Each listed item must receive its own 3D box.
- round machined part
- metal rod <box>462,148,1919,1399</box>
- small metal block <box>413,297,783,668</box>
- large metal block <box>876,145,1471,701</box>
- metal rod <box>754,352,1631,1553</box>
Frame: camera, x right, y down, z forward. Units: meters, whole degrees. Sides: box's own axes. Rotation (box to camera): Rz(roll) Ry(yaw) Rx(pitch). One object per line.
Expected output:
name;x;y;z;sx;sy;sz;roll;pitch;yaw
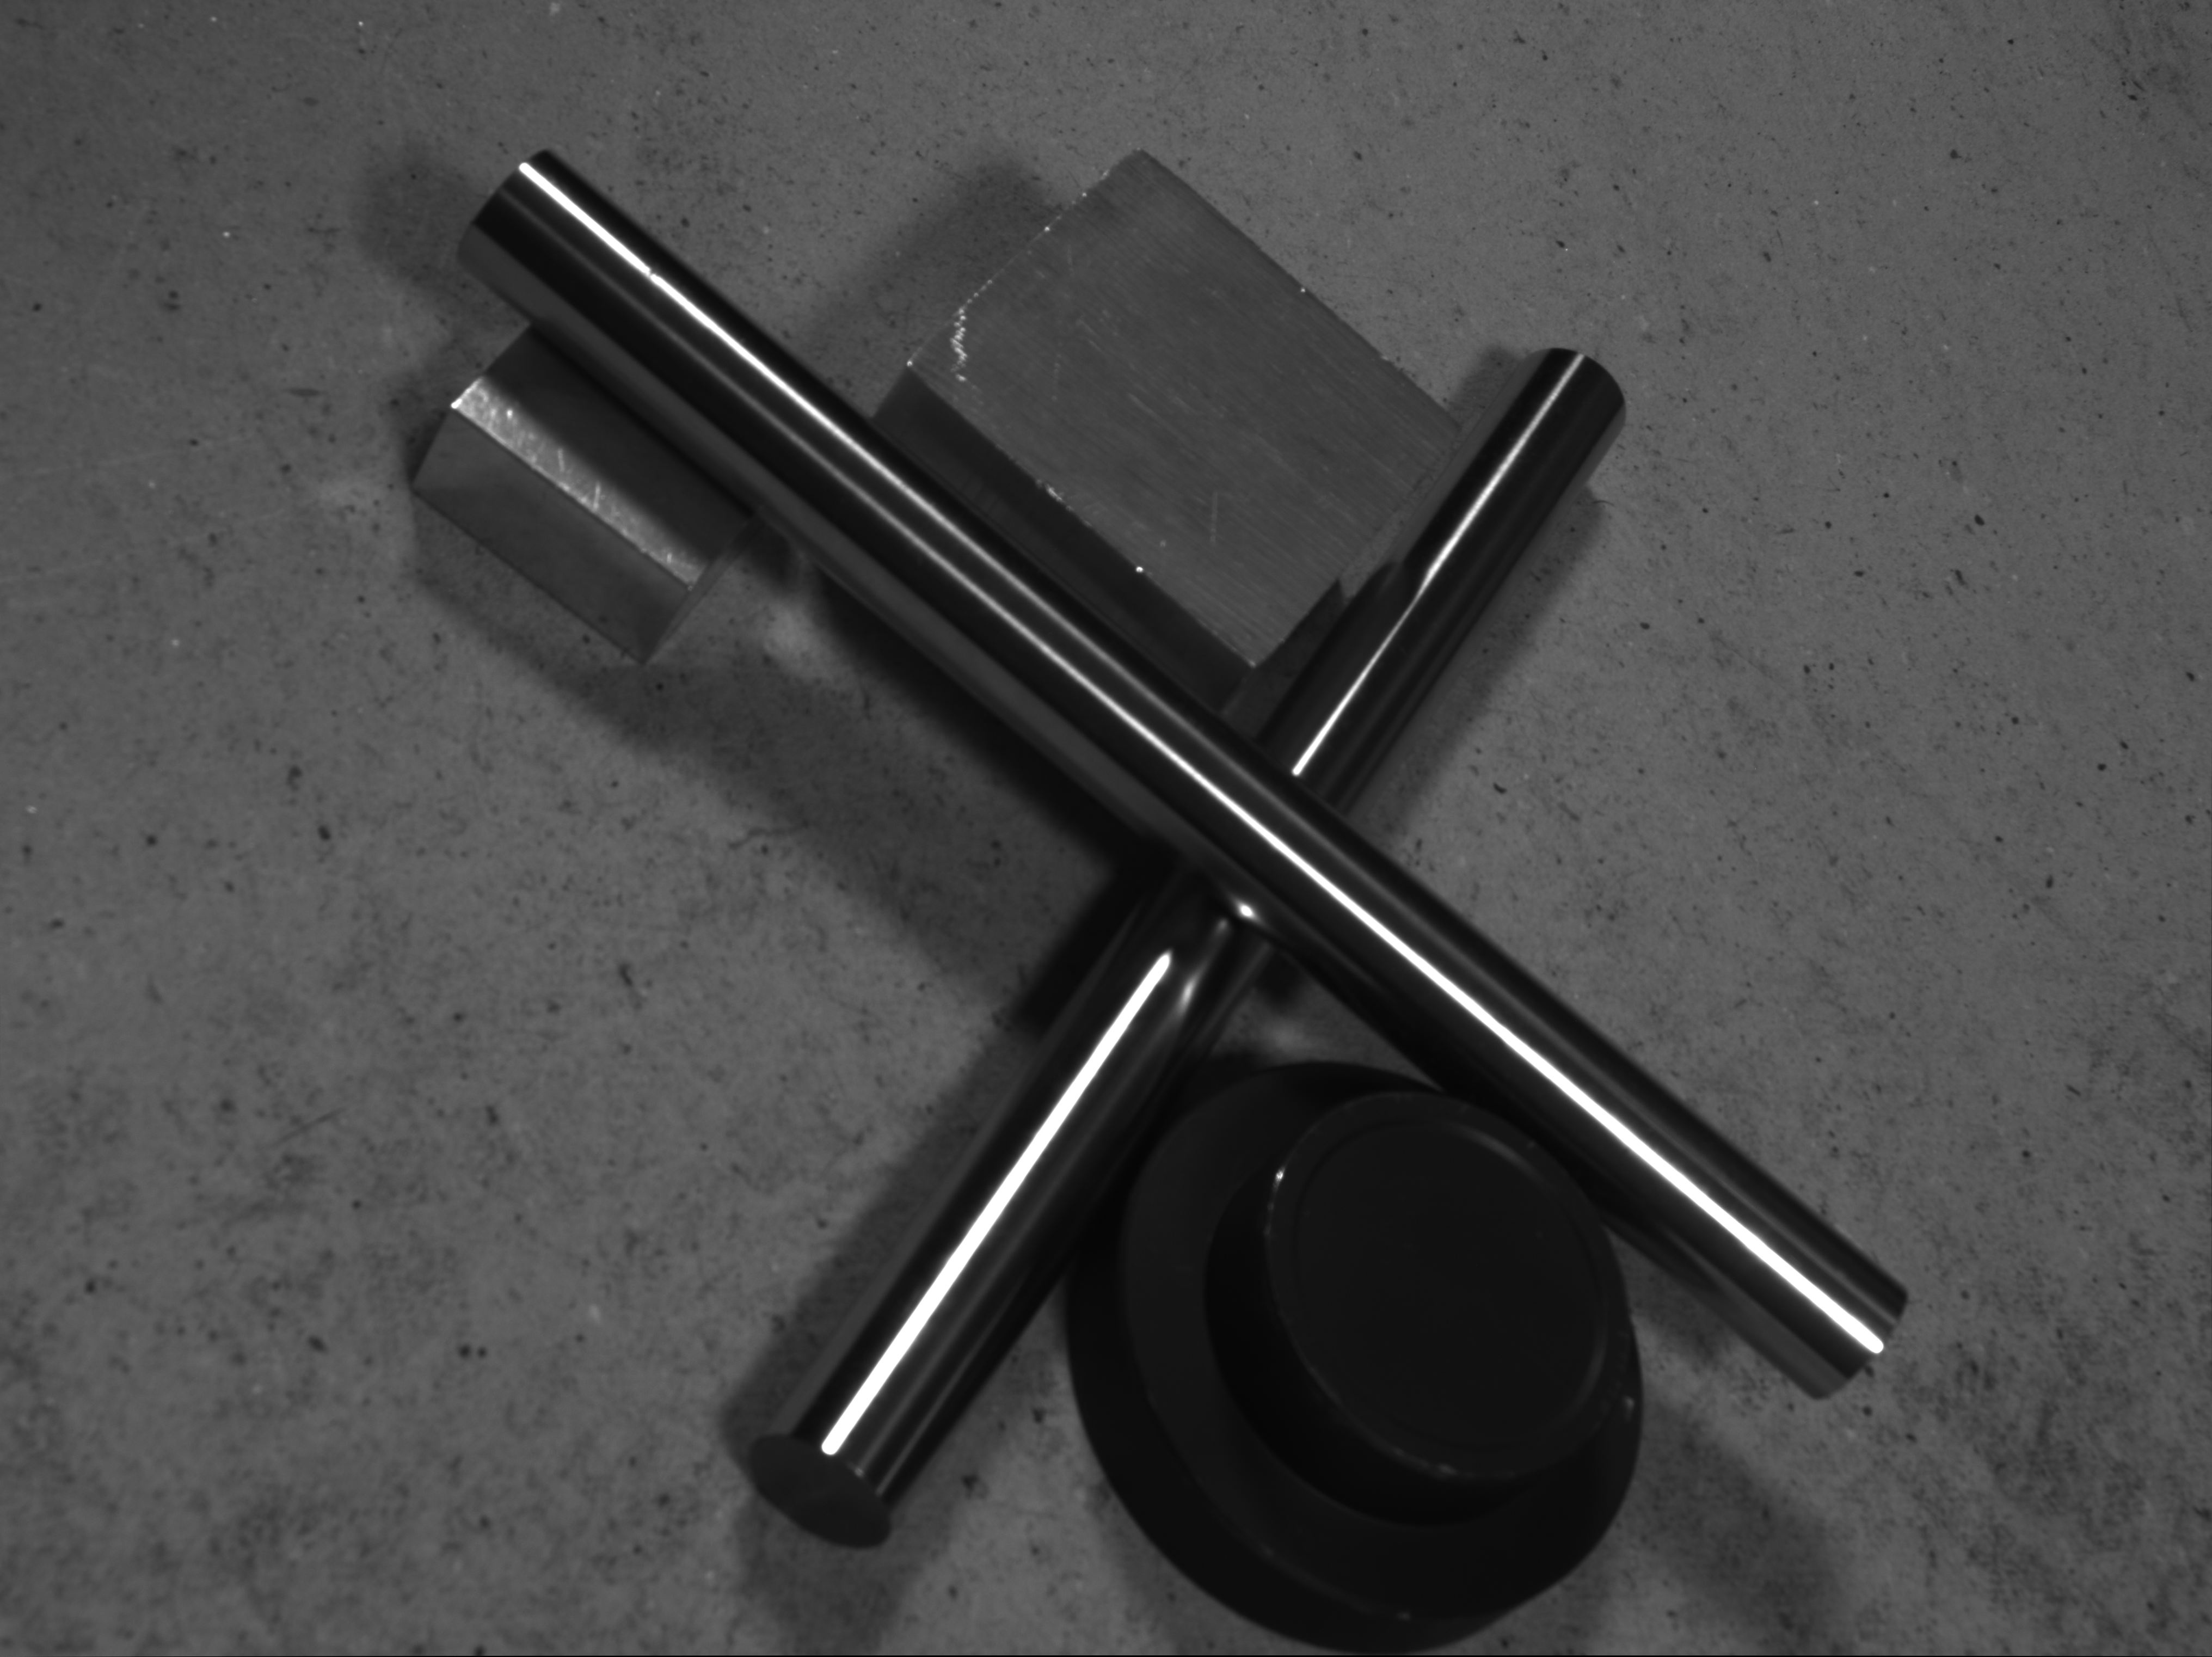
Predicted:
round machined part;0.048;0.082;0.604;0.098;0.042;0.098;14;56;-21
metal rod;0.015;-0.009;0.621;0.300;0.025;0.025;40;51;-1
small metal block;-0.083;-0.065;0.637;0.050;0.025;0.050;37;51;-3
large metal block;0.006;-0.064;0.668;0.080;0.050;0.080;41;51;0
metal rod;0.026;0.007;0.651;0.025;0.025;0.300;38;51;-2
